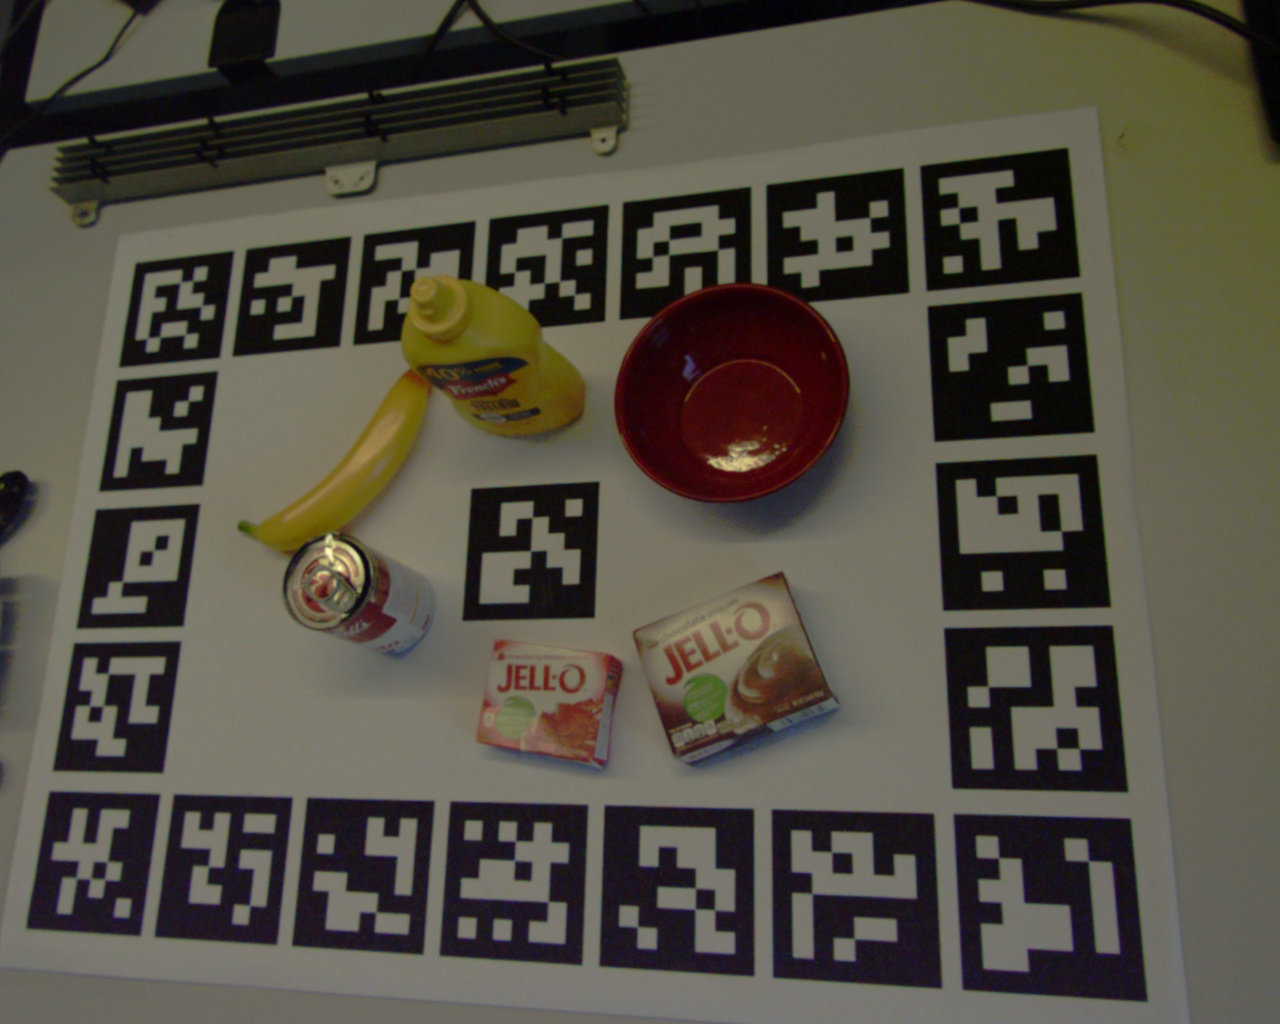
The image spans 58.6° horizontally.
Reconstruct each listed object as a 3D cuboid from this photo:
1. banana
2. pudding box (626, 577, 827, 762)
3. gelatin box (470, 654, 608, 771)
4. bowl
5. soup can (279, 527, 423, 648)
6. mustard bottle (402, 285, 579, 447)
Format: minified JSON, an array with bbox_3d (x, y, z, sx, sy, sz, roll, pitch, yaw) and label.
[{"bbox_3d":[-0.236,-0.037,0.917,0.197,0.038,0.075,-47,57,-2],"label":"banana"},{"bbox_3d":[0.059,0.109,0.786,0.114,0.038,0.090,-26,74,8],"label":"pudding box"},{"bbox_3d":[-0.073,0.143,0.819,0.090,0.030,0.073,4,78,18],"label":"gelatin box"},{"bbox_3d":[0.071,-0.074,0.833,0.163,0.054,0.162,-6,72,16],"label":"bowl"},{"bbox_3d":[-0.209,0.058,0.837,0.068,0.101,0.068,-4,71,12],"label":"soup can"},{"bbox_3d":[-0.114,-0.106,0.809,0.097,0.190,0.058,-2,70,15],"label":"mustard bottle"}]
